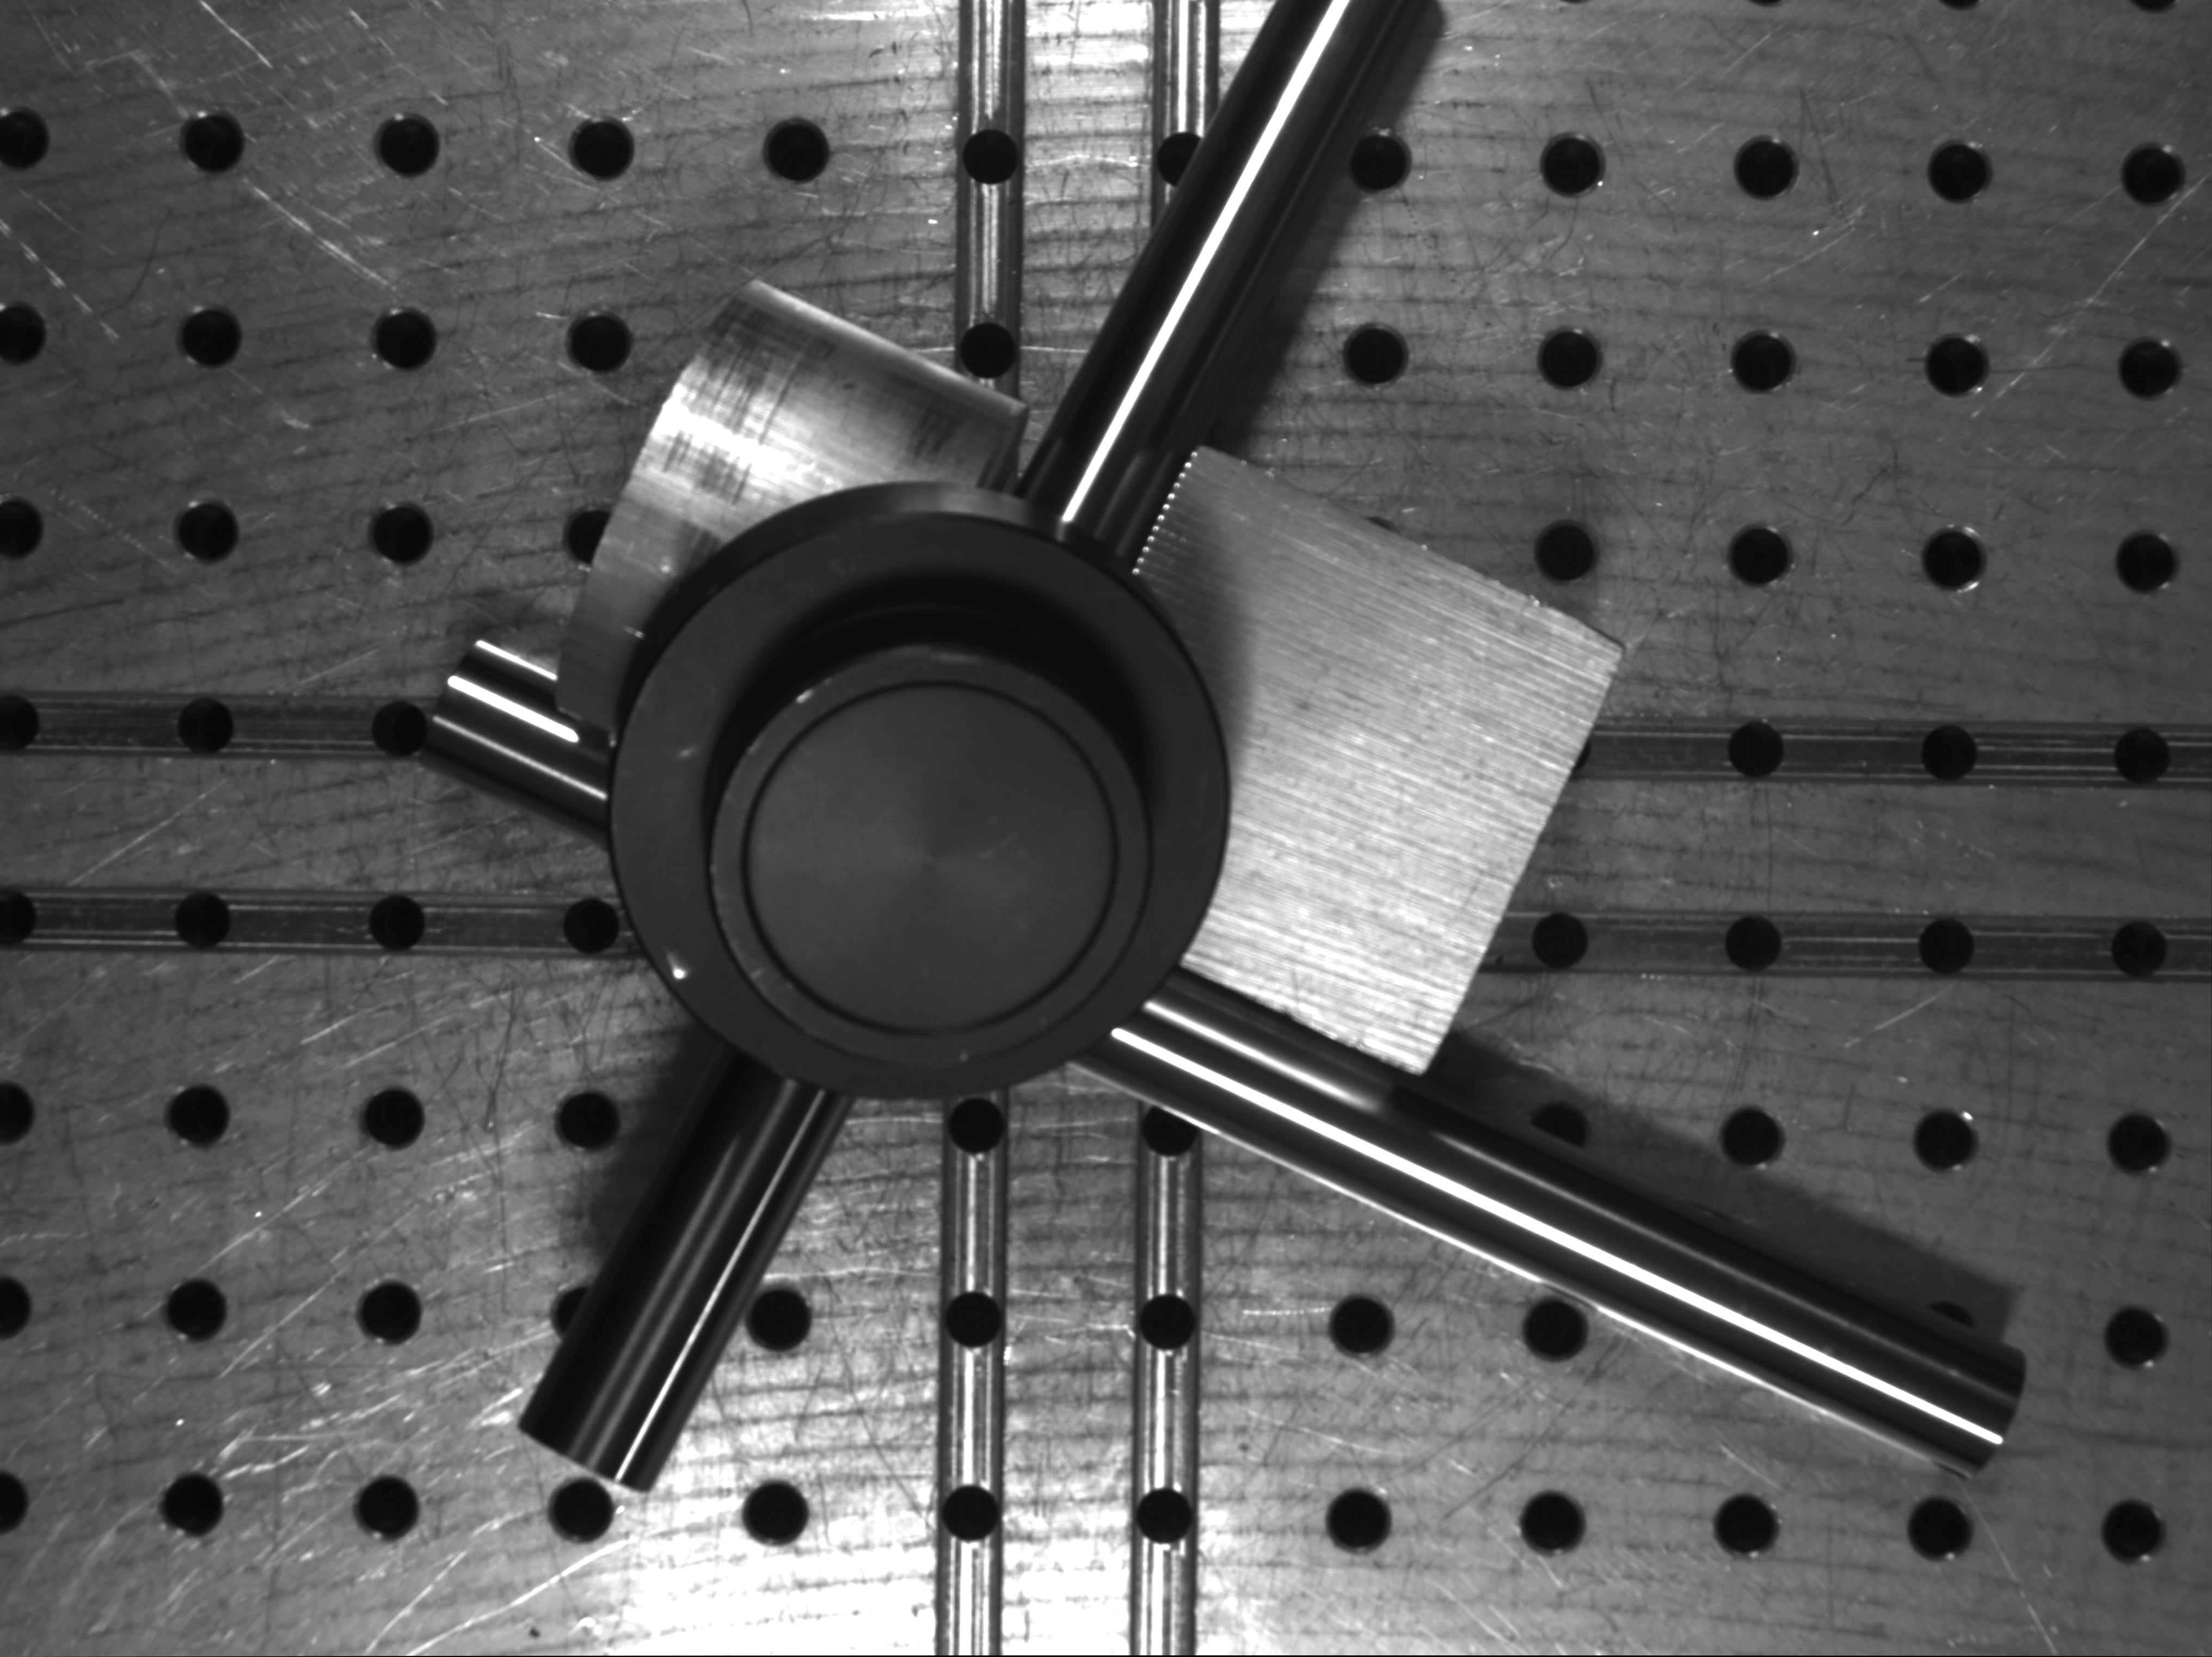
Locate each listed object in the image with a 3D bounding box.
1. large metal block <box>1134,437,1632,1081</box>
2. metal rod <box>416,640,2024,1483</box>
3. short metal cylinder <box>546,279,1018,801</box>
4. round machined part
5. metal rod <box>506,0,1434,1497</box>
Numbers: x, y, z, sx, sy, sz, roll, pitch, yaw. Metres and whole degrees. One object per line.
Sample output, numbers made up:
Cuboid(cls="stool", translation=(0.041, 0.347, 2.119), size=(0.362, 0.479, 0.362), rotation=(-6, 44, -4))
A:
Cuboid(cls="large metal block", translation=(0.034, -0.011, 0.632), size=(0.080, 0.050, 0.080), rotation=(26, 90, 0))
Cuboid(cls="metal rod", translation=(0.020, 0.041, 0.647), size=(0.300, 0.025, 0.025), rotation=(25, 90, 0))
Cuboid(cls="short metal cylinder", translation=(-0.054, -0.046, 0.619), size=(0.050, 0.080, 0.080), rotation=(25, 90, 0))
Cuboid(cls="round machined part", translation=(-0.030, -0.001, 0.573), size=(0.098, 0.042, 0.098), rotation=(-2, 110, -7))
Cuboid(cls="metal rod", translation=(-0.019, -0.026, 0.628), size=(0.025, 0.025, 0.300), rotation=(28, 82, 0))
